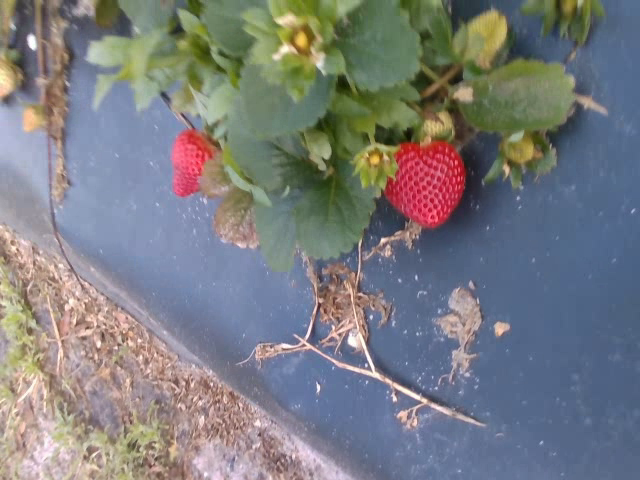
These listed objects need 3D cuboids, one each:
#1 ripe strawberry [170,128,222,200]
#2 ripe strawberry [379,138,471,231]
[{"bbox_3d":[-0.081,-0.049,0.402,0.043,0.051,0.042,38,20,23],"label":"ripe strawberry"},{"bbox_3d":[0.050,-0.025,0.309,0.046,0.046,0.043,2,-35,-27],"label":"ripe strawberry"}]
